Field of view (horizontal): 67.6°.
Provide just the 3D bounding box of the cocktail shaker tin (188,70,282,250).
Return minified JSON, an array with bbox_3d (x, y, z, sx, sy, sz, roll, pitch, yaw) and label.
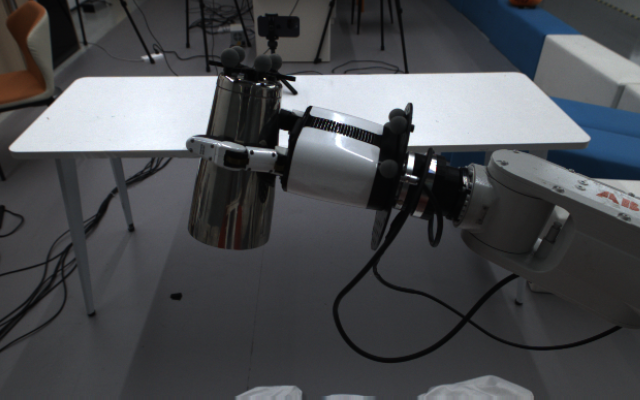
[{"bbox_3d":[-0.084,-0.043,0.518,0.093,0.170,0.093,11,19,-4],"label":"cocktail shaker tin"}]
